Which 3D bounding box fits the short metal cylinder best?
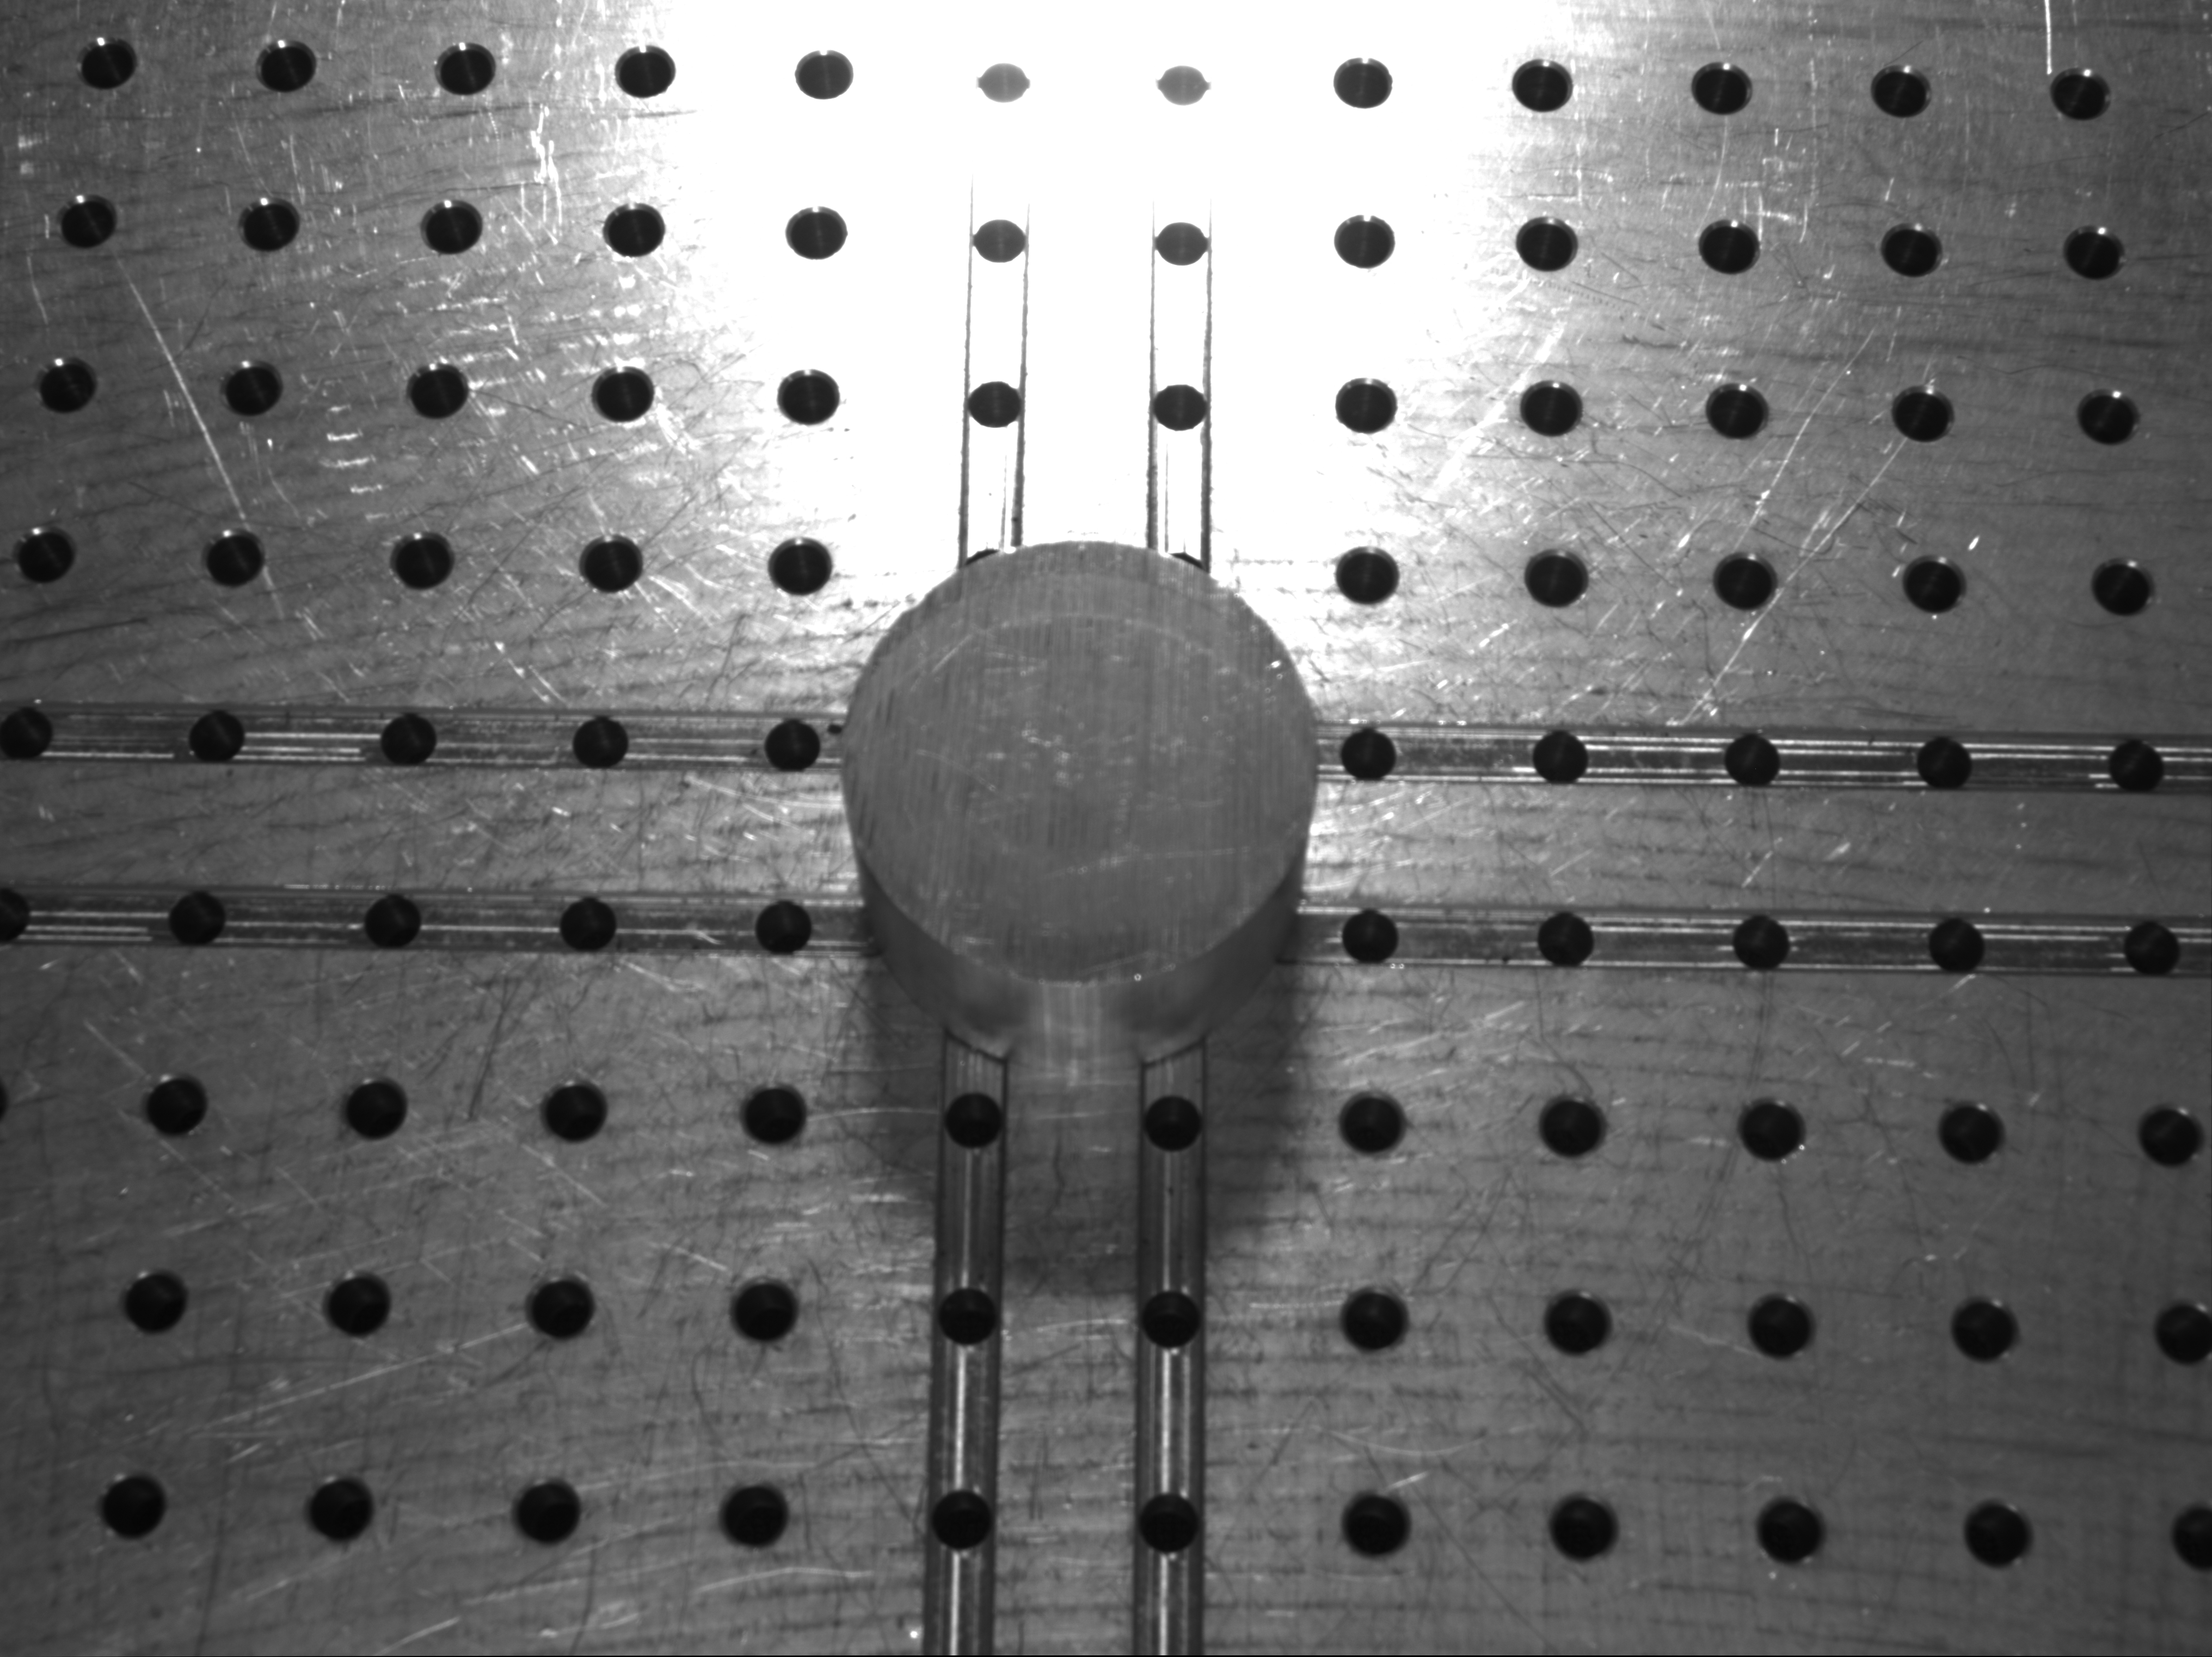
[{"bbox_3d":[-0.001,-0.003,0.635,0.080,0.050,0.080,0,70,0],"label":"short metal cylinder"}]
